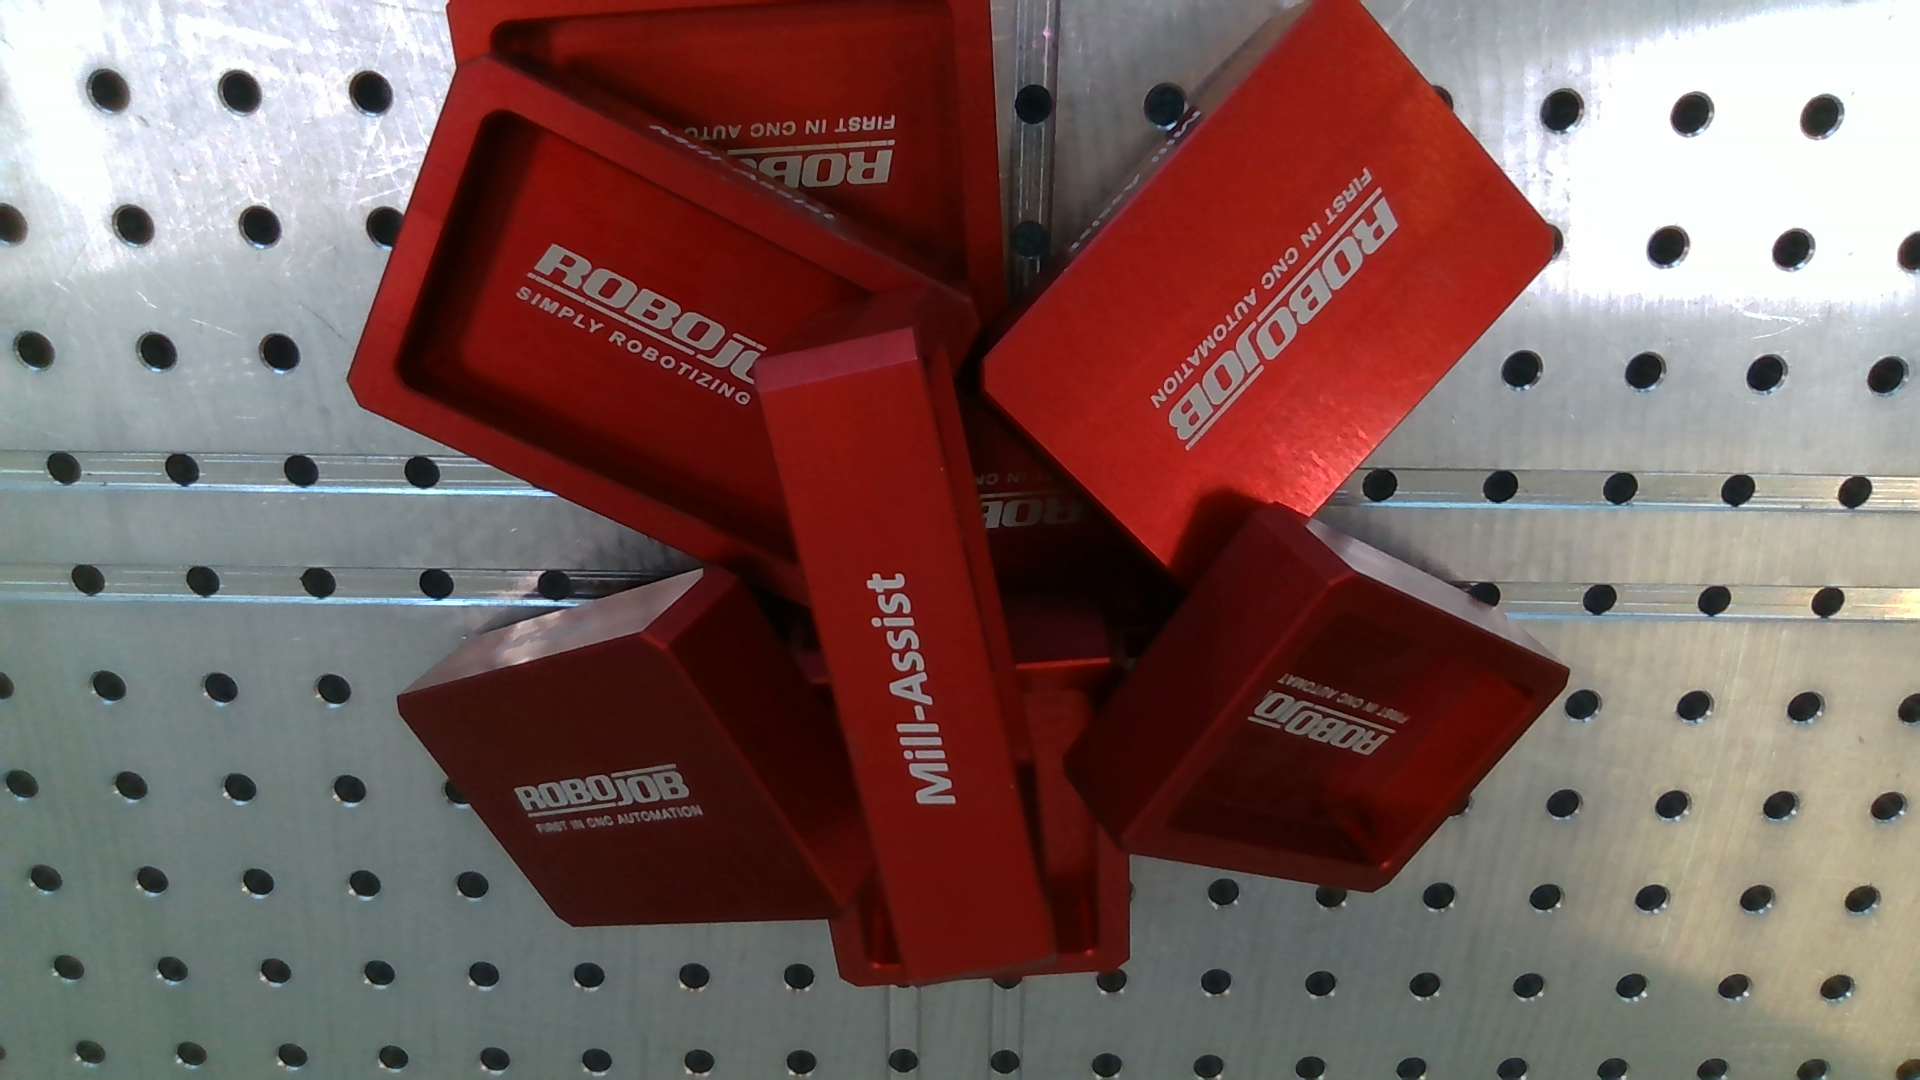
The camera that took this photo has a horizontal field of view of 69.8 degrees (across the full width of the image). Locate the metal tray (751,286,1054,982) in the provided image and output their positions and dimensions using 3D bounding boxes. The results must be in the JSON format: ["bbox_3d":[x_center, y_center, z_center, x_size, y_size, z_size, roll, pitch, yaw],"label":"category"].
[{"bbox_3d":[-0.009,0.015,0.298,0.030,0.090,0.130,-11,105,4],"label":"metal tray"}]

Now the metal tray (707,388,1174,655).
[{"bbox_3d":[-0.002,-0.010,0.389,0.130,0.030,0.090,-5,112,0],"label":"metal tray"}]

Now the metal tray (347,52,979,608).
[{"bbox_3d":[-0.071,-0.050,0.342,0.130,0.030,0.090,25,108,-9],"label":"metal tray"}]

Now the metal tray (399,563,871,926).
[{"bbox_3d":[-0.089,0.062,0.380,0.130,0.030,0.090,-15,113,41],"label":"metal tray"}]

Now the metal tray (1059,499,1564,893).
[{"bbox_3d":[0.099,0.049,0.375,0.130,0.030,0.090,20,112,-42],"label":"metal tray"}]

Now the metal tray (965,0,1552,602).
[{"bbox_3d":[0.075,-0.060,0.353,0.090,0.030,0.130,43,89,-14],"label":"metal tray"}]

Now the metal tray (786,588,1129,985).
[{"bbox_3d":[0.002,0.076,0.401,0.090,0.030,0.130,-4,127,2],"label":"metal tray"}]

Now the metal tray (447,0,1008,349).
[{"bbox_3d":[-0.055,-0.100,0.357,0.130,0.030,0.090,-4,111,1],"label":"metal tray"}]
